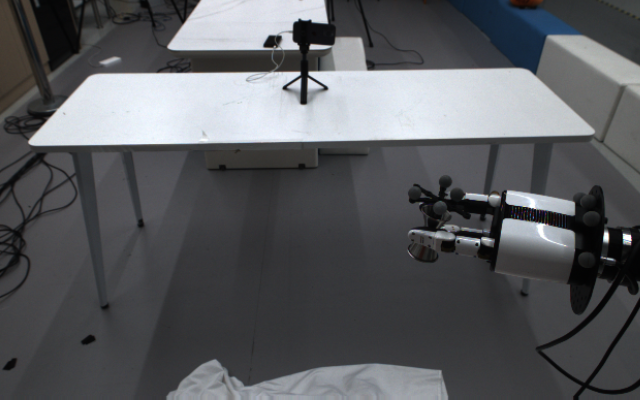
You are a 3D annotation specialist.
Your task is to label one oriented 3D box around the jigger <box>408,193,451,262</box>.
[{"bbox_3d":[0.146,0.044,0.652,0.043,0.071,0.043,9,30,-5],"label":"jigger"}]
